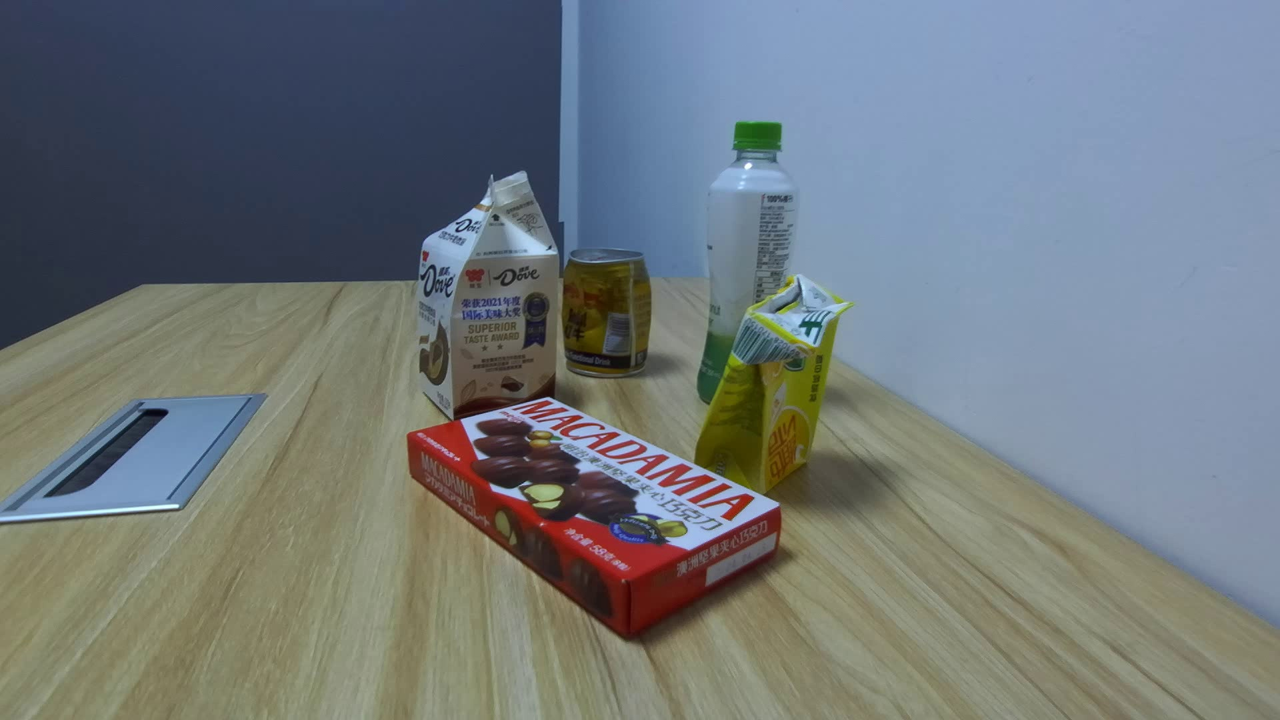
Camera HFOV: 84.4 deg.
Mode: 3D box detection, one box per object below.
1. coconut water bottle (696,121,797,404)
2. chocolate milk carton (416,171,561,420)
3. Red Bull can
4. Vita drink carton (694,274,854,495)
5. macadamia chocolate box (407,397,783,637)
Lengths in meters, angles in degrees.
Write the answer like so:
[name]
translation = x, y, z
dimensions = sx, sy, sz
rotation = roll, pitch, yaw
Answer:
[coconut water bottle]
translation = 0.074, -0.061, 0.478
dimensions = 0.063, 0.188, 0.063
rotation = 3, 10, 0
[chocolate milk carton]
translation = -0.102, -0.046, 0.473
dimensions = 0.074, 0.155, 0.076
rotation = -8, 20, -32
[Red Bull can]
translation = -0.027, -0.039, 0.559
dimensions = 0.072, 0.092, 0.072
rotation = 2, 19, 0
[Vita drink carton]
translation = 0.073, 0.016, 0.374
dimensions = 0.042, 0.108, 0.087
rotation = 28, 32, 29
[macadamia chocolate box]
translation = -0.030, 0.064, 0.348
dimensions = 0.096, 0.027, 0.177
rotation = -14, 24, -42
